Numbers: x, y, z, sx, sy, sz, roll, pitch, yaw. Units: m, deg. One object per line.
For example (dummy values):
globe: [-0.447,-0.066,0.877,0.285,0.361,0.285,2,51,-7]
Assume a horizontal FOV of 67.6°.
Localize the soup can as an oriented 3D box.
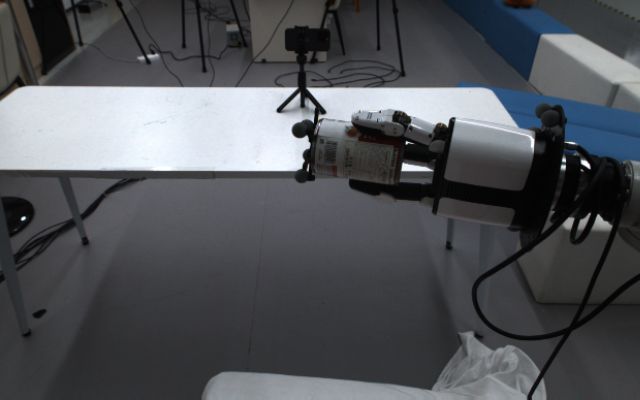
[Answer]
soup can: [0.049,-0.057,0.565,0.101,0.067,0.067,9,35,9]
